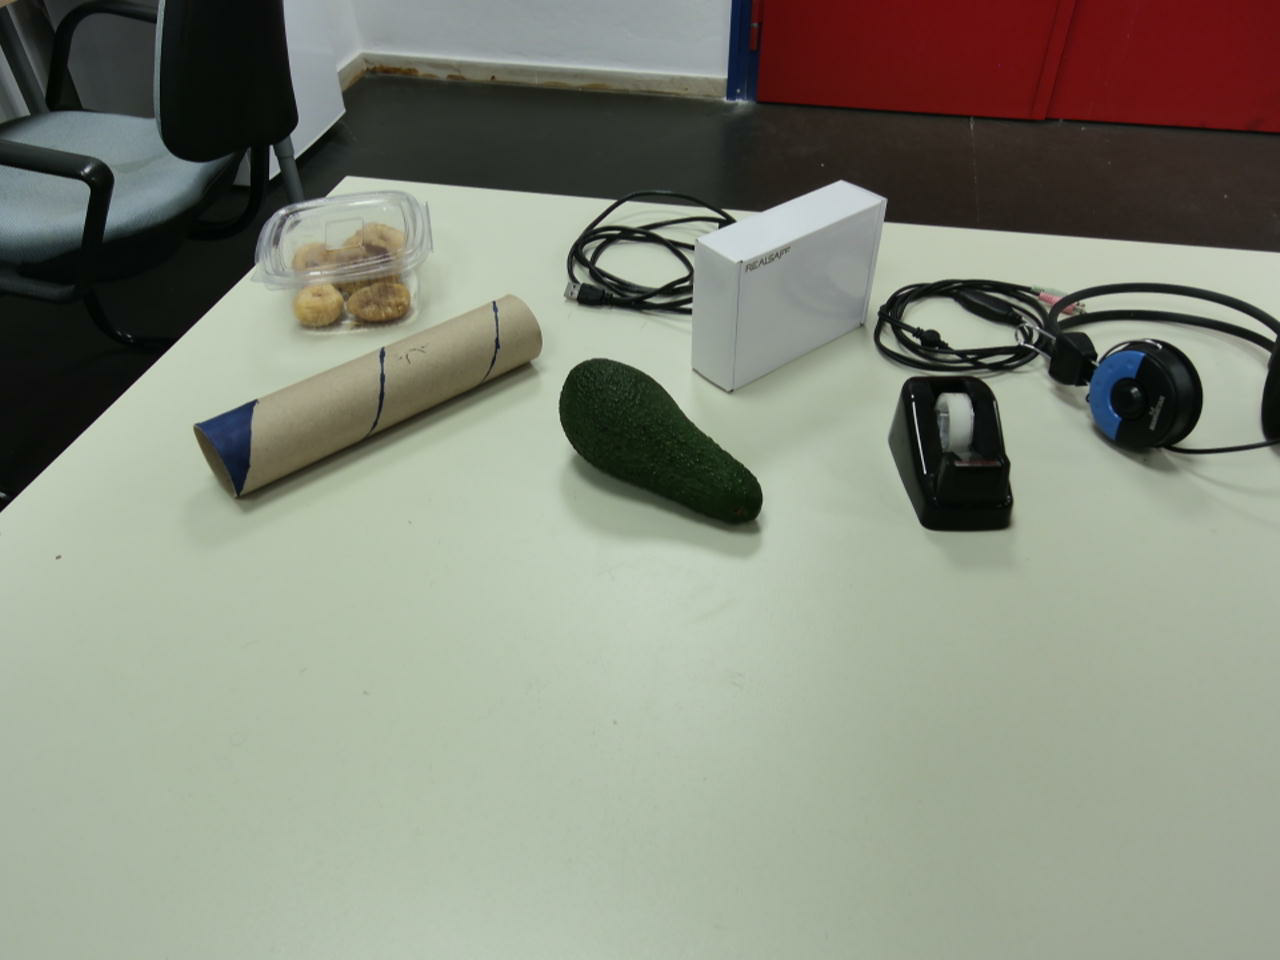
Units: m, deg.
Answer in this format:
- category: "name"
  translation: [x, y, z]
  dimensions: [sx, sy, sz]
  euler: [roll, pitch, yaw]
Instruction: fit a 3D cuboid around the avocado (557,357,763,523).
- category: "avocado"
  translation: [0.014, -0.028, 0.582]
  dimensions: [0.141, 0.067, 0.063]
  euler: [18, 43, 21]
